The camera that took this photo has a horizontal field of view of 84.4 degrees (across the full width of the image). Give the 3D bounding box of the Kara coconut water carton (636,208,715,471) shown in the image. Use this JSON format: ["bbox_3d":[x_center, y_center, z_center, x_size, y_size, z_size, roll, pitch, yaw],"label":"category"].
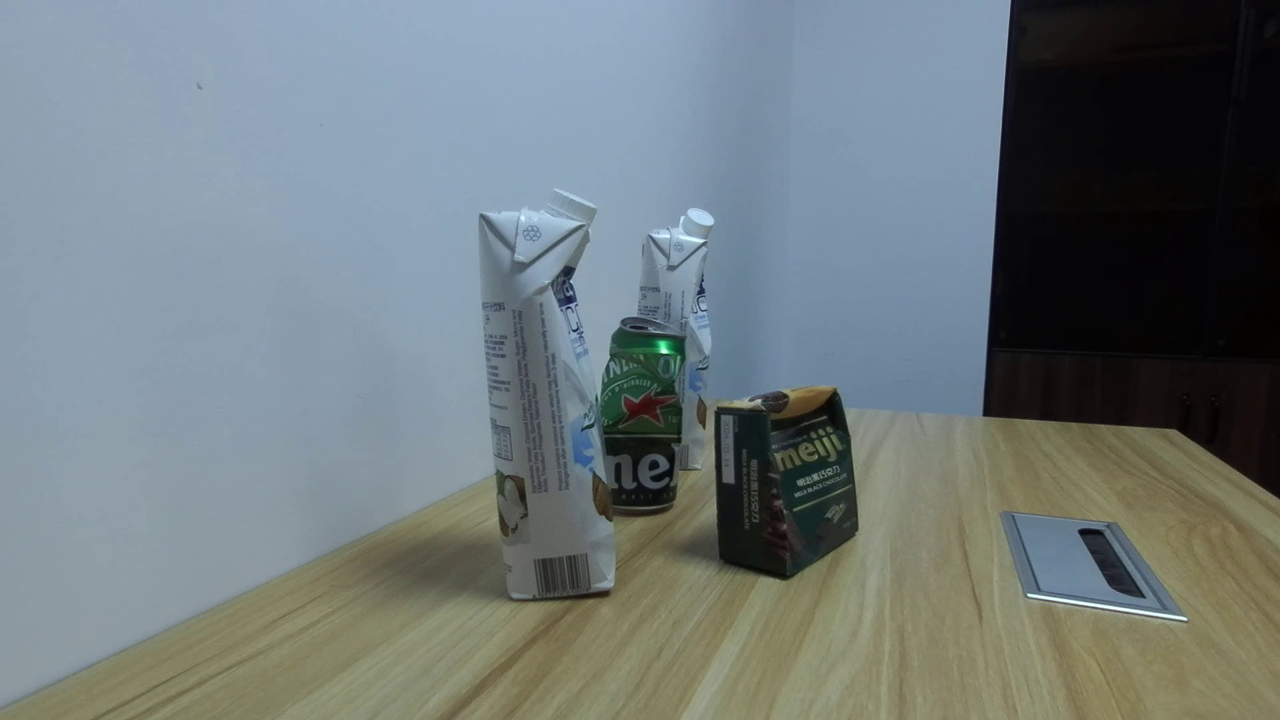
[{"bbox_3d":[0.033,-0.022,0.707,0.078,0.255,0.083,4,11,11],"label":"Kara coconut water carton"}]

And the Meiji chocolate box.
[{"bbox_3d":[0.104,0.082,0.503,0.058,0.110,0.114,-2,3,38],"label":"Meiji chocolate box"}]

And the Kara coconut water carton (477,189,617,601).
[{"bbox_3d":[-0.056,0.019,0.445,0.071,0.244,0.099,-3,10,-3],"label":"Kara coconut water carton"}]

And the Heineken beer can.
[{"bbox_3d":[-0.001,0.047,0.579,0.078,0.159,0.067,10,12,22],"label":"Heineken beer can"}]
